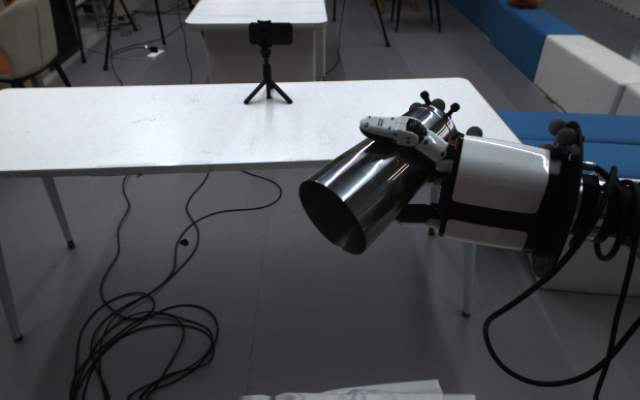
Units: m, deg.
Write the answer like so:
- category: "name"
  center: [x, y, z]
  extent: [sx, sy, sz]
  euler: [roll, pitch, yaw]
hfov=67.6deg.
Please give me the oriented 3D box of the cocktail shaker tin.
- category: "cocktail shaker tin"
  center: [0.072, -0.035, 0.514]
  extent: [0.170, 0.093, 0.093]
  euler: [-38, 50, -24]
